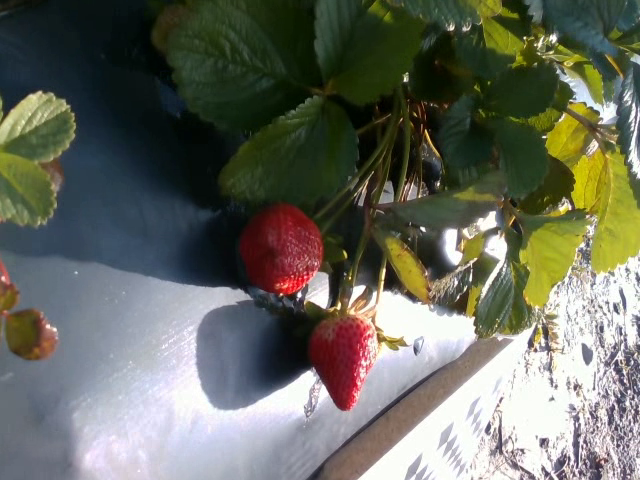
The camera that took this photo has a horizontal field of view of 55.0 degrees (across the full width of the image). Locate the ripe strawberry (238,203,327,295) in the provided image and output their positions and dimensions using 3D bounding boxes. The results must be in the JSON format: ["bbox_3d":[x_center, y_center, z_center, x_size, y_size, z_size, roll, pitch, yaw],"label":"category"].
[{"bbox_3d":[-0.017,0.006,0.281,0.039,0.048,0.054,23,10,7],"label":"ripe strawberry"}]

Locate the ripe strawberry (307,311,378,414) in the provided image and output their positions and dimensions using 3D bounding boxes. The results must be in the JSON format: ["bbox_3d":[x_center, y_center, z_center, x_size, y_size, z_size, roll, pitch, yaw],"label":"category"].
[{"bbox_3d":[0.015,0.063,0.307,0.038,0.053,0.043,-12,-31,14],"label":"ripe strawberry"}]
